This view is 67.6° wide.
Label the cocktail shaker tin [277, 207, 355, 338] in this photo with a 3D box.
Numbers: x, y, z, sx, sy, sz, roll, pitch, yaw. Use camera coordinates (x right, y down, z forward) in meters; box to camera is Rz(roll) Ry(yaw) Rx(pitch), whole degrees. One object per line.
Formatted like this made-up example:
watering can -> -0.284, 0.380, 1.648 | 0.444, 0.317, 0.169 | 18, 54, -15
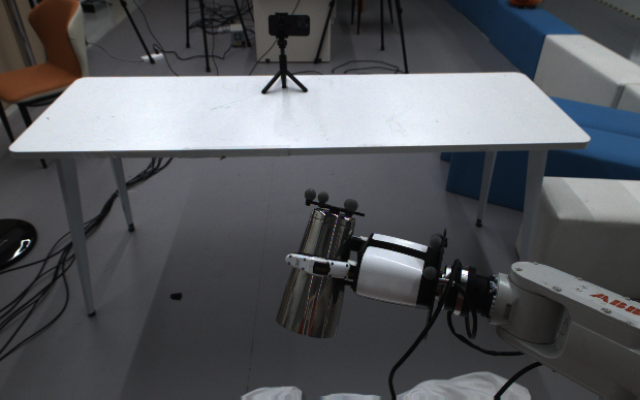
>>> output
cocktail shaker tin -> 0.000, 0.102, 0.706 | 0.093, 0.170, 0.093 | 14, 2, 0
